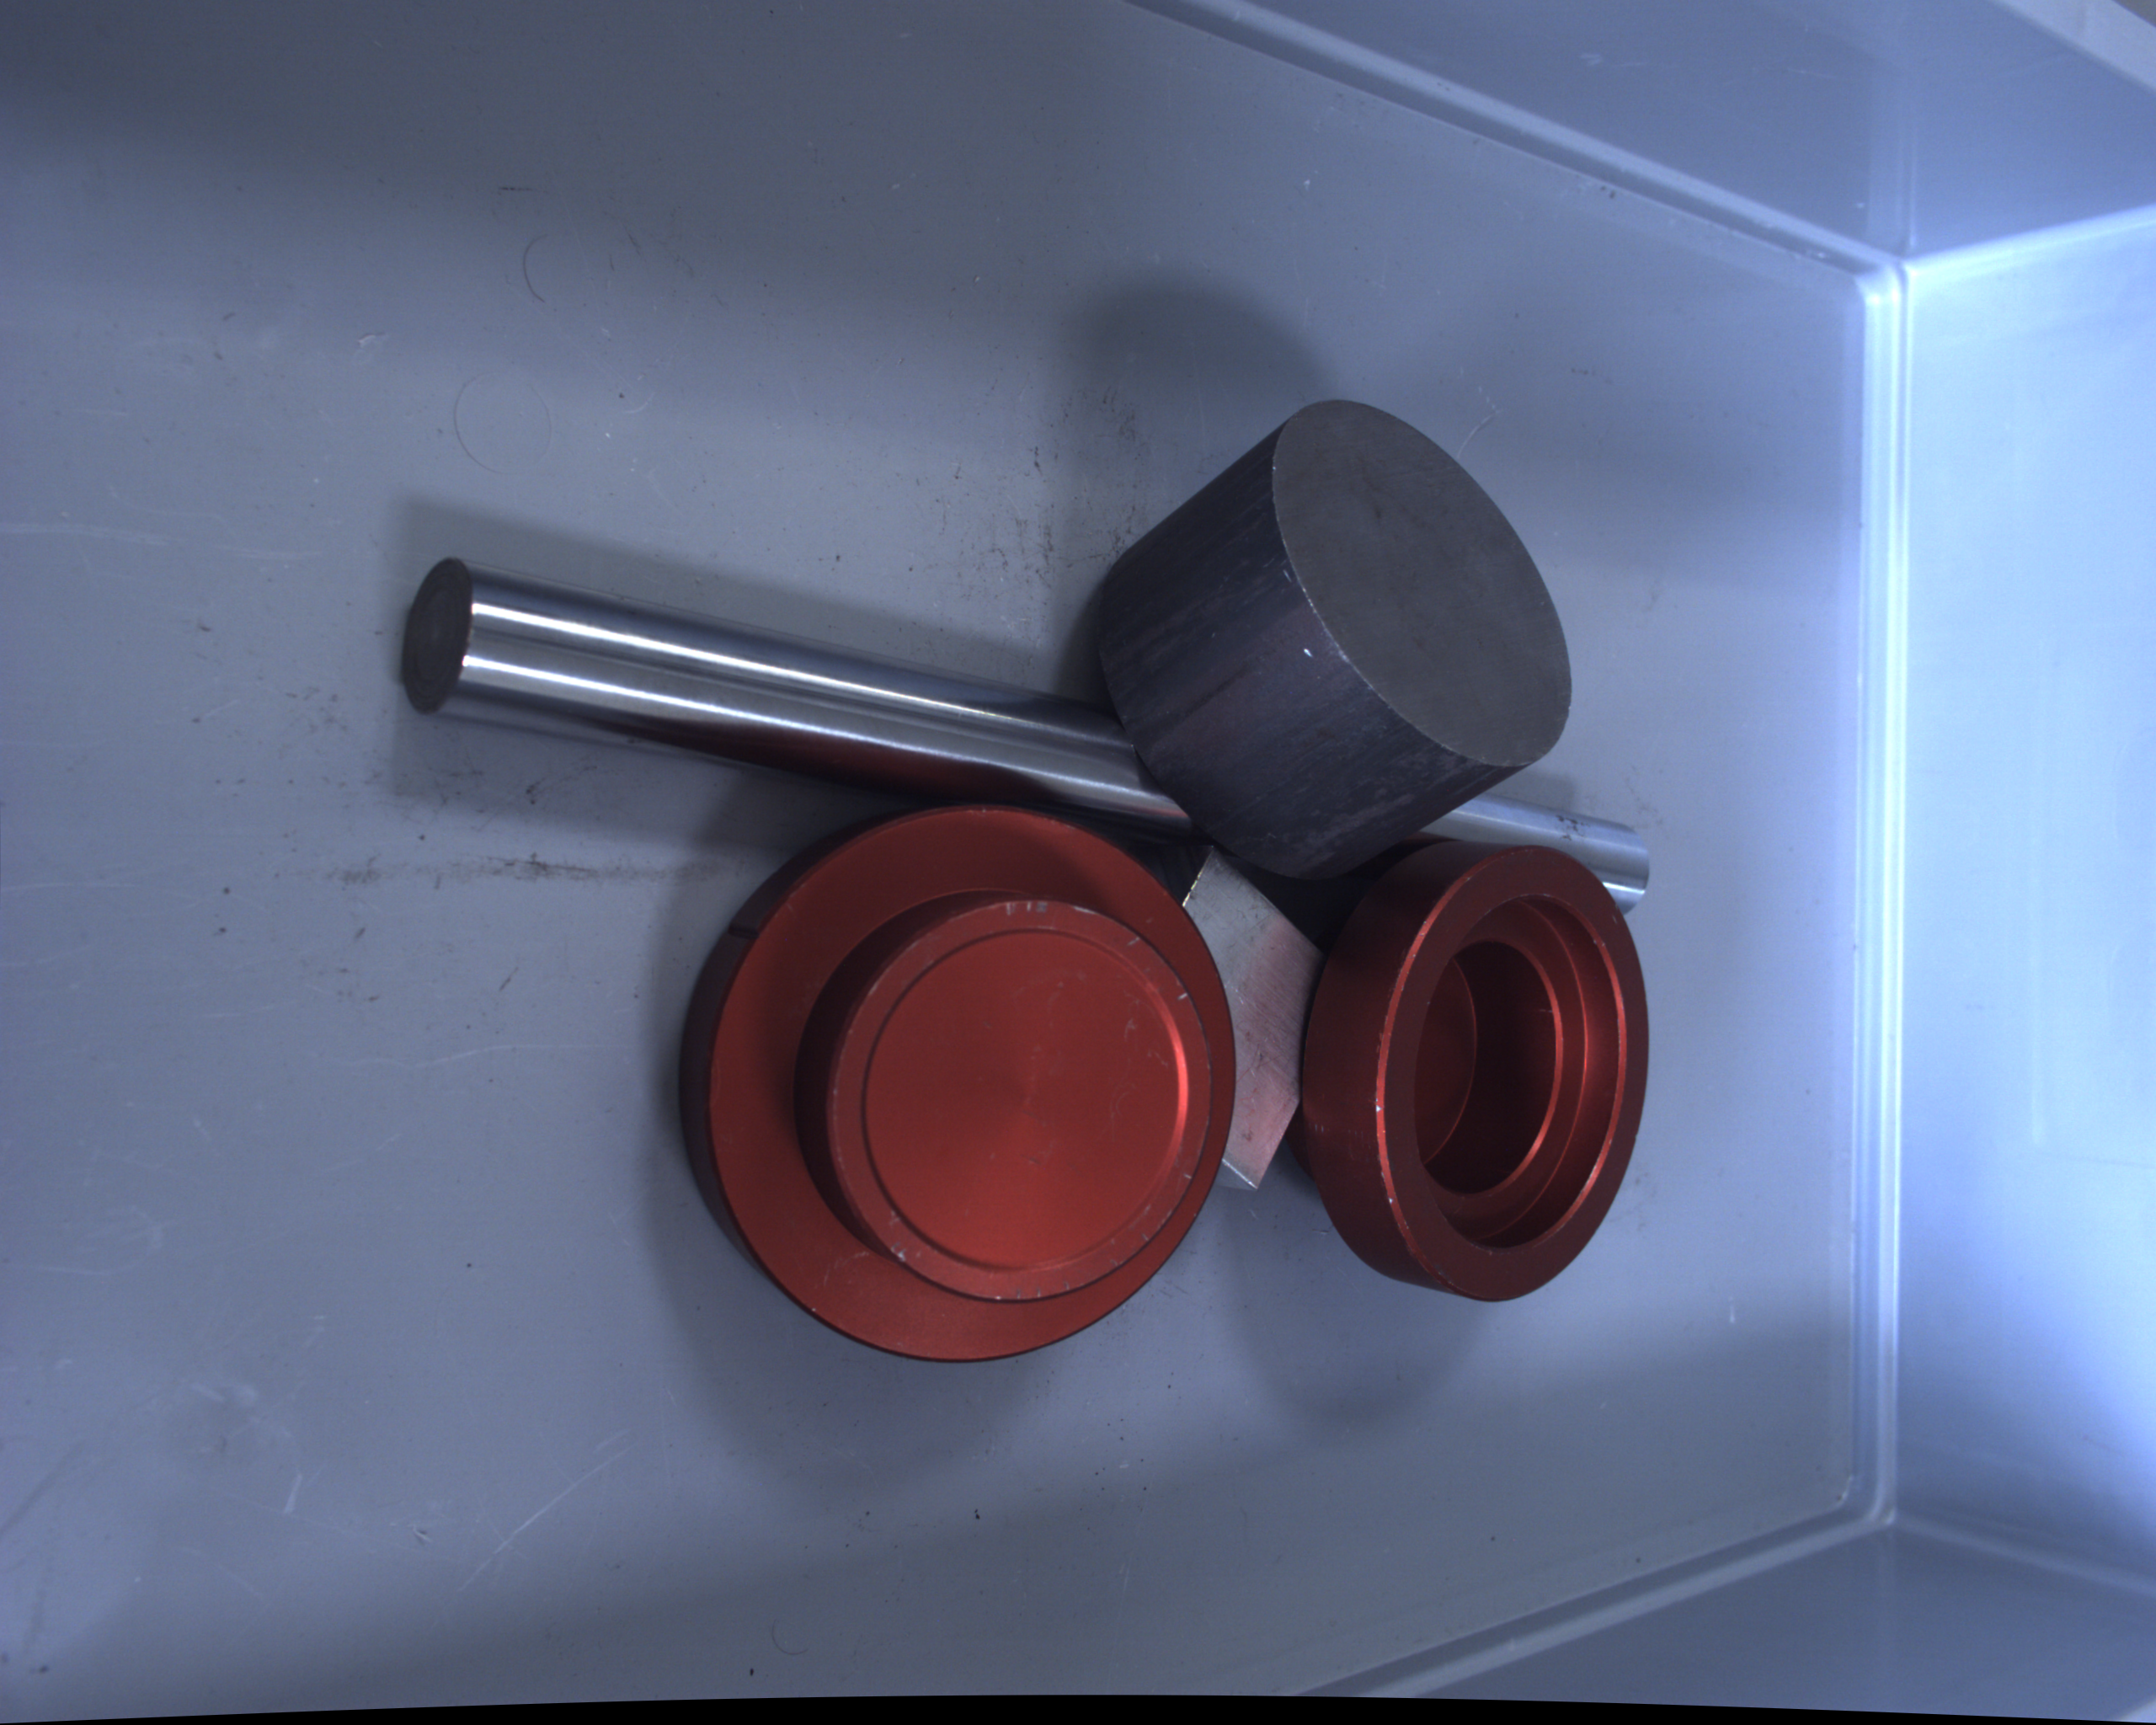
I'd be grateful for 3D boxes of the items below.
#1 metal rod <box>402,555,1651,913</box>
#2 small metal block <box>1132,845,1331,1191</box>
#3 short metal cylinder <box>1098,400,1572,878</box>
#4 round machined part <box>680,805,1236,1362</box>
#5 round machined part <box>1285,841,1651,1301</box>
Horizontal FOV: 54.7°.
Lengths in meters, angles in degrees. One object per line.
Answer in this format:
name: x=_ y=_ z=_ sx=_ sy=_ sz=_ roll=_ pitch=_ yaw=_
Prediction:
metal rod: x=0.016 y=-0.017 z=0.418 sx=0.302 sy=0.025 sz=0.025 roll=9 pitch=84 yaw=-40
small metal block: x=0.024 y=0.031 z=0.424 sx=0.050 sy=0.025 sz=0.050 roll=44 pitch=64 yaw=-31
short metal cylinder: x=0.051 y=-0.043 z=0.412 sx=0.080 sy=0.050 sz=0.080 roll=24 pitch=50 yaw=-31
round machined part: x=-0.016 y=0.039 z=0.363 sx=0.099 sy=0.042 sz=0.097 roll=0 pitch=91 yaw=-22
round machined part: x=0.081 y=0.044 z=0.459 sx=0.099 sy=0.042 sz=0.097 roll=-3 pitch=95 yaw=-43
